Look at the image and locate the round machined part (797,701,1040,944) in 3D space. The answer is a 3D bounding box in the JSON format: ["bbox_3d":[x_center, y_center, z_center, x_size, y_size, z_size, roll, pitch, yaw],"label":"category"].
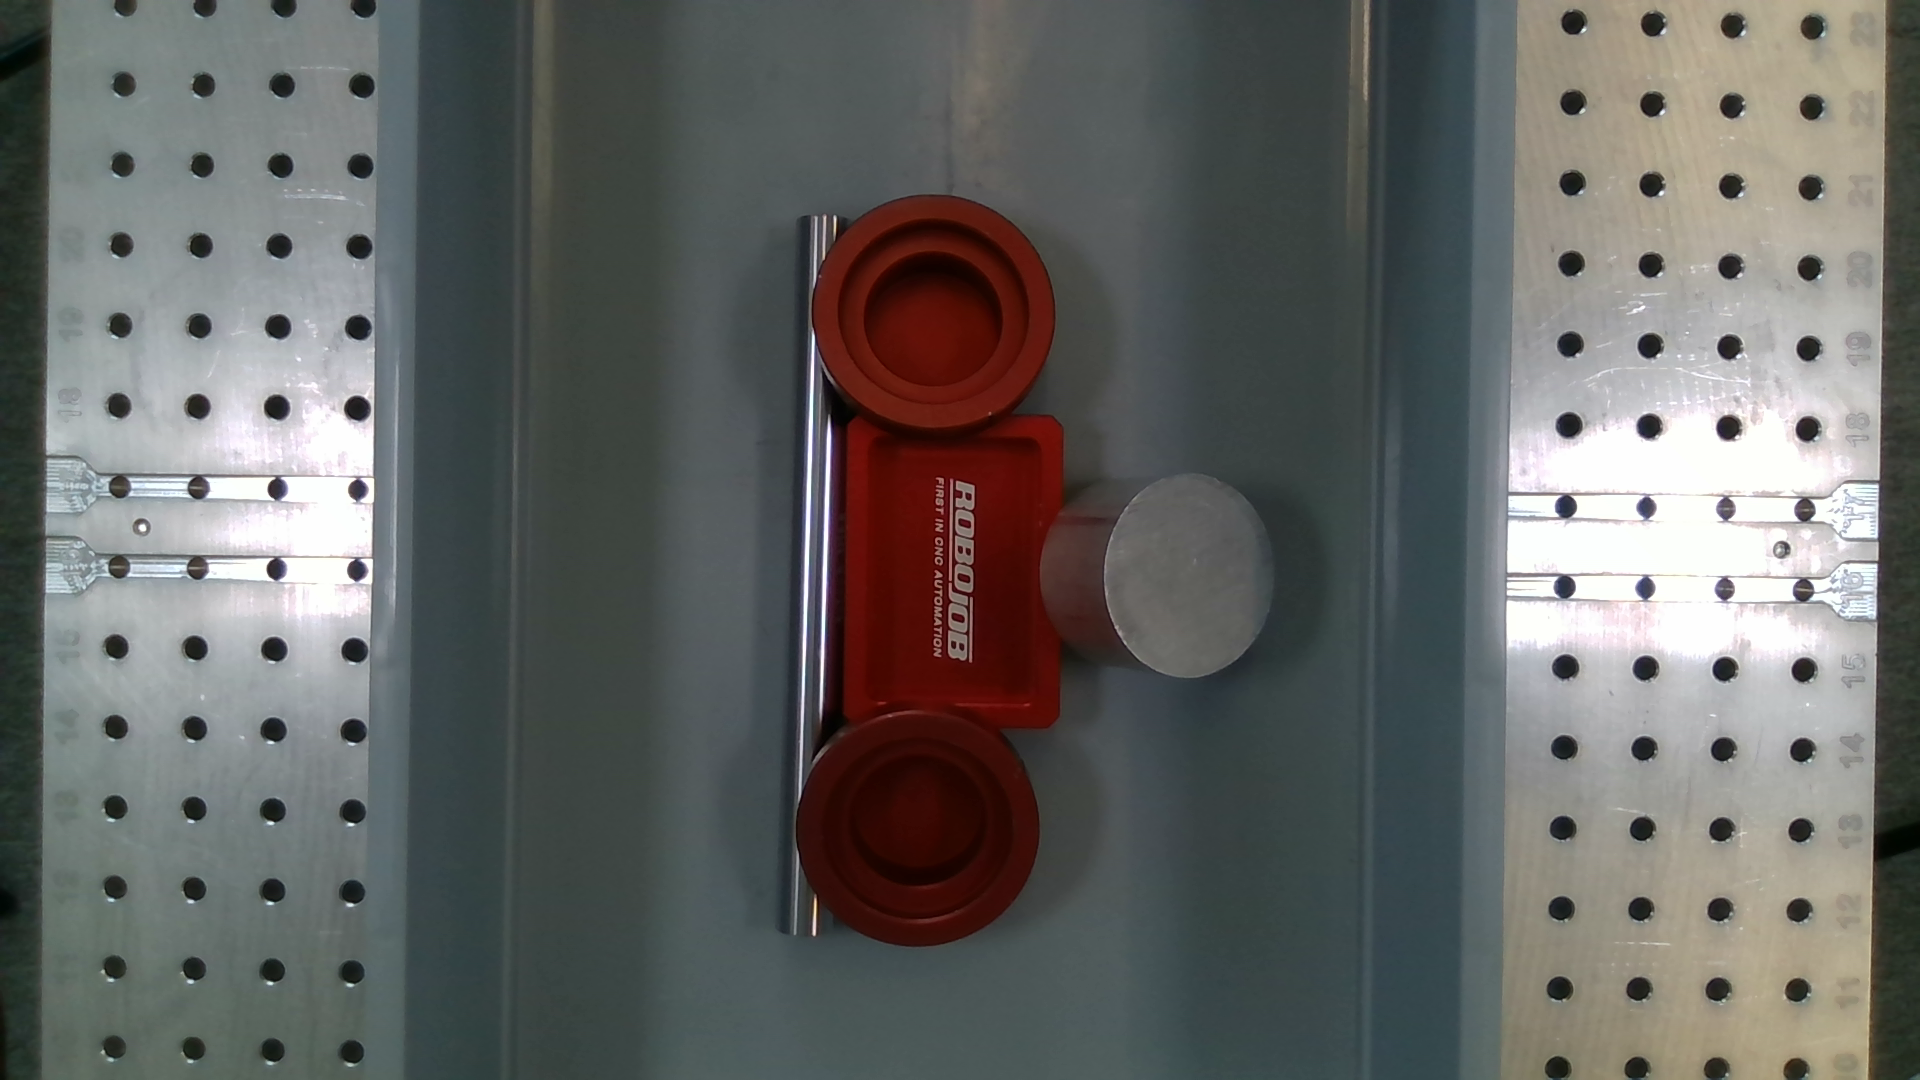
[{"bbox_3d":[-0.017,0.114,0.574,0.098,0.042,0.098,0,98,-2],"label":"round machined part"}]

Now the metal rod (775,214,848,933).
[{"bbox_3d":[-0.062,0.014,0.586,0.025,0.025,0.300,2,91,0],"label":"metal rod"}]

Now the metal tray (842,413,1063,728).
[{"bbox_3d":[-0.003,0.012,0.583,0.090,0.030,0.130,1,91,1],"label":"metal tray"}]

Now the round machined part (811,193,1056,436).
[{"bbox_3d":[-0.011,-0.089,0.572,0.098,0.042,0.098,0,82,-3],"label":"round machined part"}]

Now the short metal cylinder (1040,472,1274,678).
[{"bbox_3d":[0.080,0.014,0.559,0.080,0.050,0.080,0,90,-26],"label":"short metal cylinder"}]
